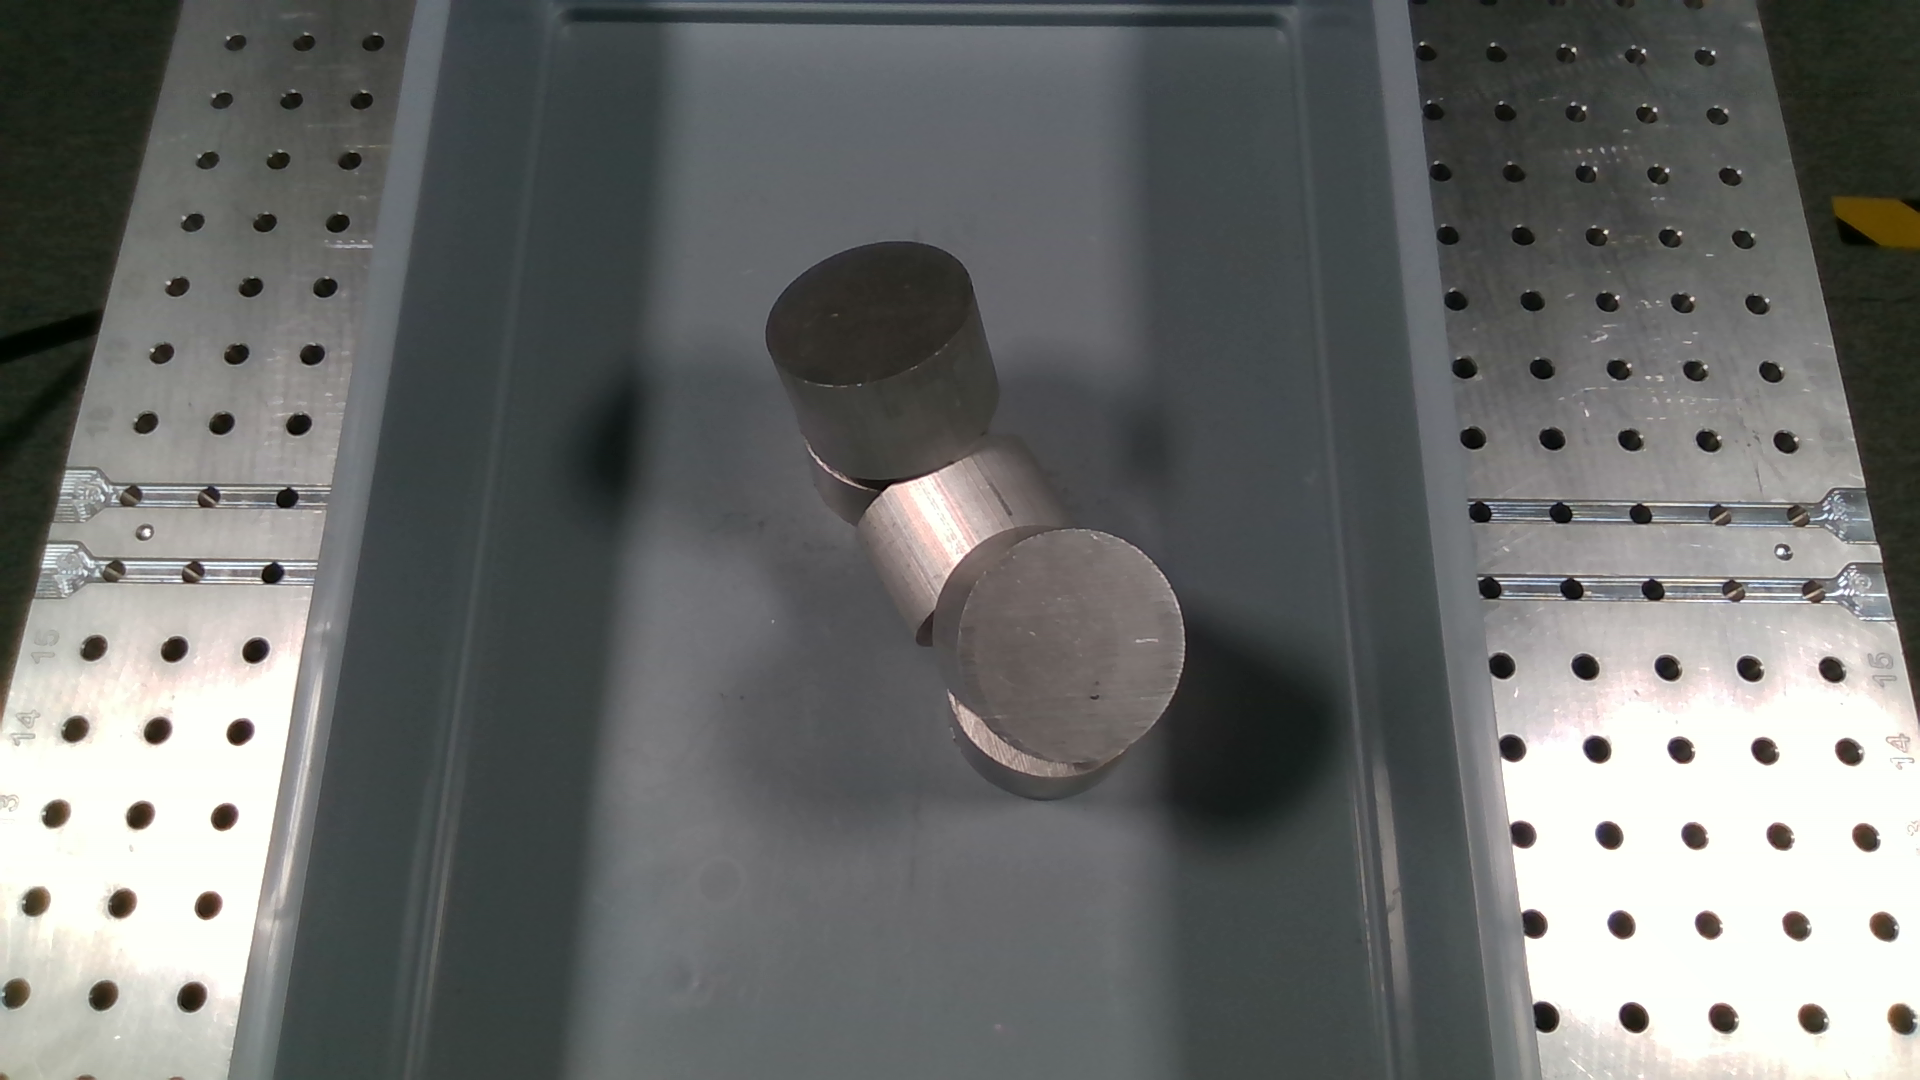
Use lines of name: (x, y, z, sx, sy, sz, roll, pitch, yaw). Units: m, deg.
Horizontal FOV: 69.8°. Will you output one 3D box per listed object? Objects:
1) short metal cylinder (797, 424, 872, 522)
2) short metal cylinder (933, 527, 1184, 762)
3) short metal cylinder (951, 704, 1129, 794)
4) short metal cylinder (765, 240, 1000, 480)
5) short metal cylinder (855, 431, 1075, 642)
short metal cylinder: (-0.028, -0.048, 0.591, 0.080, 0.050, 0.080, 0, 70, 0)
short metal cylinder: (0.033, 0.035, 0.492, 0.080, 0.050, 0.080, 0, 92, -12)
short metal cylinder: (0.035, 0.059, 0.552, 0.080, 0.050, 0.080, 0, 70, 0)
short metal cylinder: (-0.029, -0.070, 0.530, 0.080, 0.050, 0.080, -8, 50, 9)
short metal cylinder: (0.005, 0.000, 0.557, 0.080, 0.080, 0.050, -28, 73, -10)
